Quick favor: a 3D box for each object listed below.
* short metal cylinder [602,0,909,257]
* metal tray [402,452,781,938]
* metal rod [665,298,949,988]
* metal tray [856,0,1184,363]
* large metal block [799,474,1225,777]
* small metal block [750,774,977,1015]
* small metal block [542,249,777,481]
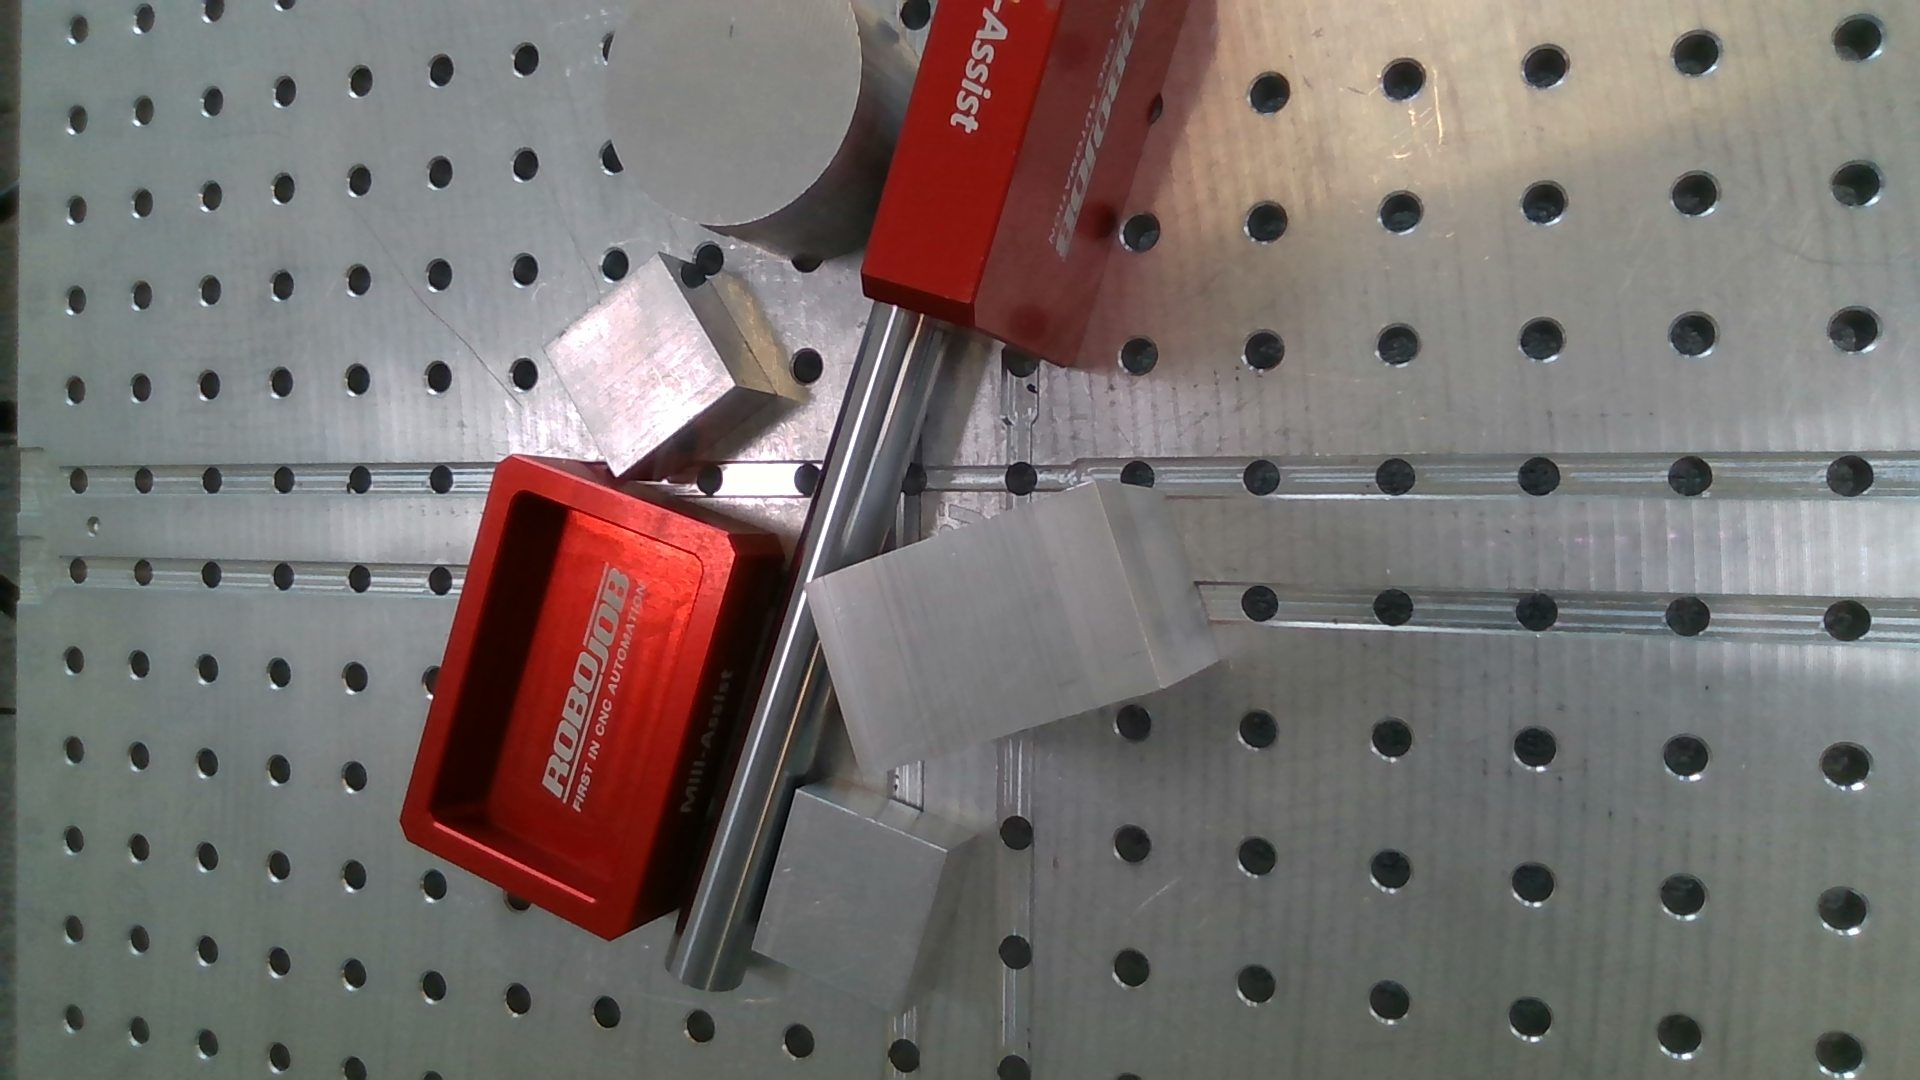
[{"bbox_3d":[-0.056,-0.128,0.402,0.080,0.050,0.080,0,90,20],"label":"short metal cylinder"},{"bbox_3d":[-0.118,0.047,0.437,0.090,0.030,0.130,19,97,19],"label":"metal tray"},{"bbox_3d":[-0.033,-0.009,0.408,0.025,0.025,0.300,21,97,19],"label":"metal rod"},{"bbox_3d":[0.022,-0.116,0.352,0.030,0.090,0.130,20,97,19],"label":"metal tray"},{"bbox_3d":[0.017,0.021,0.363,0.080,0.080,0.050,-20,83,19],"label":"large metal block"},{"bbox_3d":[-0.029,0.103,0.408,0.050,0.025,0.050,18,96,19],"label":"small metal block"},{"bbox_3d":[-0.094,-0.054,0.431,0.050,0.025,0.050,-34,79,17],"label":"small metal block"}]
